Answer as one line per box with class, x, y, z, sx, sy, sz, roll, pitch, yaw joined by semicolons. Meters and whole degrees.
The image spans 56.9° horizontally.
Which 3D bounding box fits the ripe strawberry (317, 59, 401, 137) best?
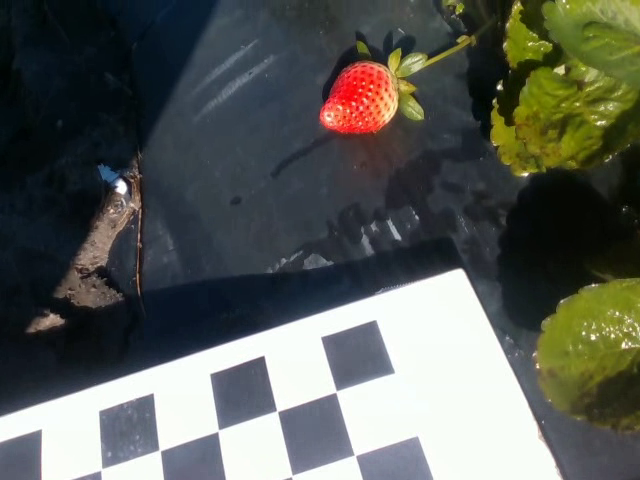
ripe strawberry;0.018;-0.066;0.290;0.053;0.041;0.039;-27;56;-25
